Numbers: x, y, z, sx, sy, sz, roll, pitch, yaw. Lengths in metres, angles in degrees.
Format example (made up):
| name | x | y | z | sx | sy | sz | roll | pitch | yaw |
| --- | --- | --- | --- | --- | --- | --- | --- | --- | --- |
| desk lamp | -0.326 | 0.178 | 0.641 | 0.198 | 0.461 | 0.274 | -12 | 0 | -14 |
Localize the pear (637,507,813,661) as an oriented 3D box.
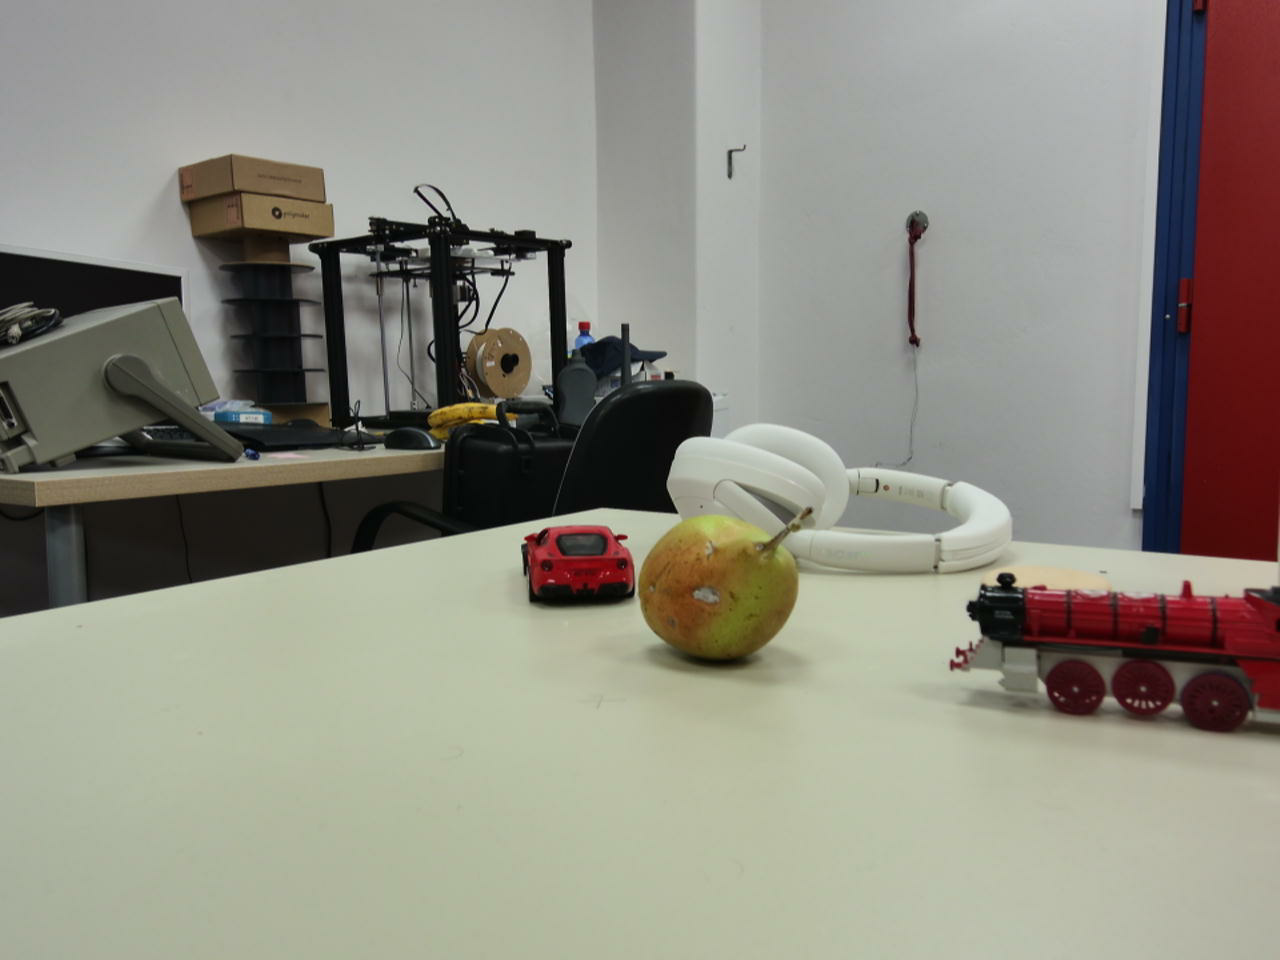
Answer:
| name | x | y | z | sx | sy | sz | roll | pitch | yaw |
| --- | --- | --- | --- | --- | --- | --- | --- | --- | --- |
| pear | 0.034 | 0.044 | 0.438 | 0.068 | 0.069 | 0.070 | 1 | 3 | -1 |
